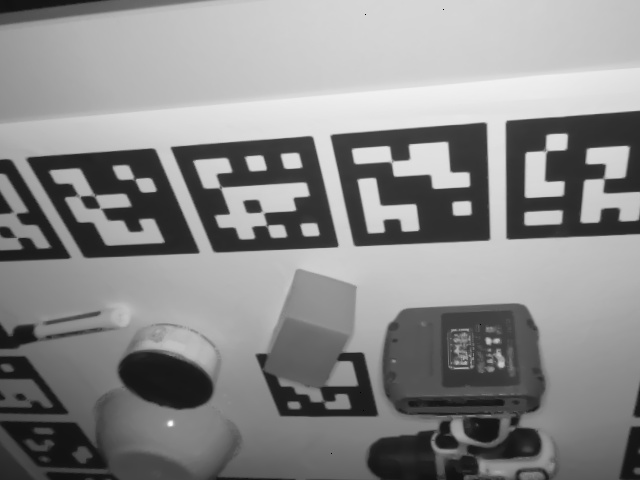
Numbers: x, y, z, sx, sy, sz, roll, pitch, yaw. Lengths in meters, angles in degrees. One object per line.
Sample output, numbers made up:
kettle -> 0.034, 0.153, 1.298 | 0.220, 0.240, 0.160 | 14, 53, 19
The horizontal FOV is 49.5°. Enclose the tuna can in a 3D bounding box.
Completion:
tuna can -> -0.135, 0.109, 0.625 | 0.085, 0.034, 0.085 | 5, 131, 7

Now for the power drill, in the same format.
power drill -> 0.127, 0.141, 0.605 | 0.183, 0.058, 0.186 | -2, 132, 14

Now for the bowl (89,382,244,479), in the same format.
bowl -> -0.162, 0.209, 0.713 | 0.162, 0.056, 0.160 | 1, 136, 2

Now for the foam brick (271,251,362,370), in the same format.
foam brick -> -0.004, 0.057, 0.560 | 0.051, 0.053, 0.077 | 17, 129, -3

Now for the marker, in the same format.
marker -> -0.226, 0.068, 0.613 | 0.120, 0.020, 0.019 | -10, 126, 17
